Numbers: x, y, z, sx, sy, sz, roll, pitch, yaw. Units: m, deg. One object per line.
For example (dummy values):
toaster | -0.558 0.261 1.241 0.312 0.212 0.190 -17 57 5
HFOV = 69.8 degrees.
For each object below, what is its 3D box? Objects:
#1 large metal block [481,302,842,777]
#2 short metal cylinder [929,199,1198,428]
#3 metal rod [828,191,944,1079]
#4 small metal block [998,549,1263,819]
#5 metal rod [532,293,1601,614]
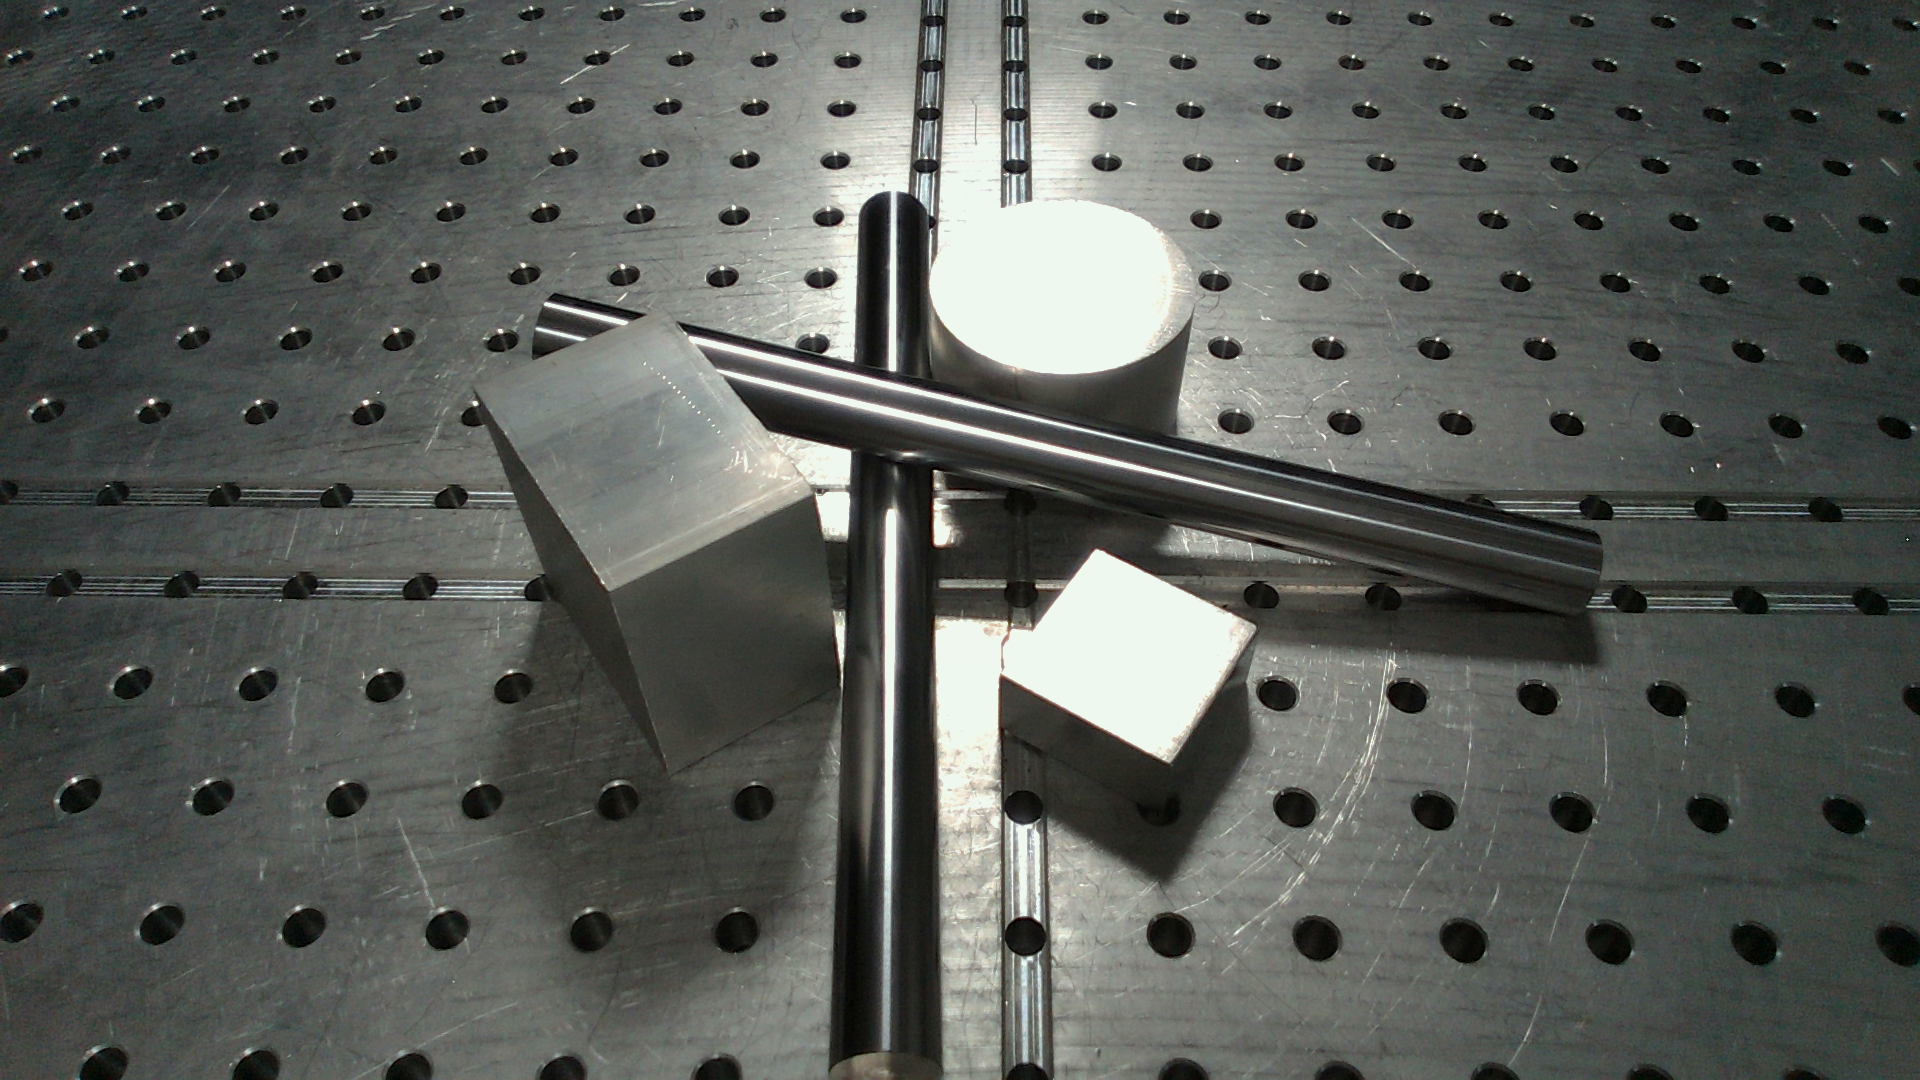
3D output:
large metal block | -0.075 0.000 0.357 0.050 0.080 0.080 -28 55 -21
short metal cylinder | 0.031 -0.061 0.430 0.080 0.050 0.080 0 50 0
metal rod | -0.020 0.000 0.394 0.025 0.025 0.300 -1 50 -1
small metal block | 0.045 0.037 0.365 0.050 0.025 0.050 27 55 21
metal rod | 0.029 -0.025 0.391 0.300 0.025 0.025 13 51 1
